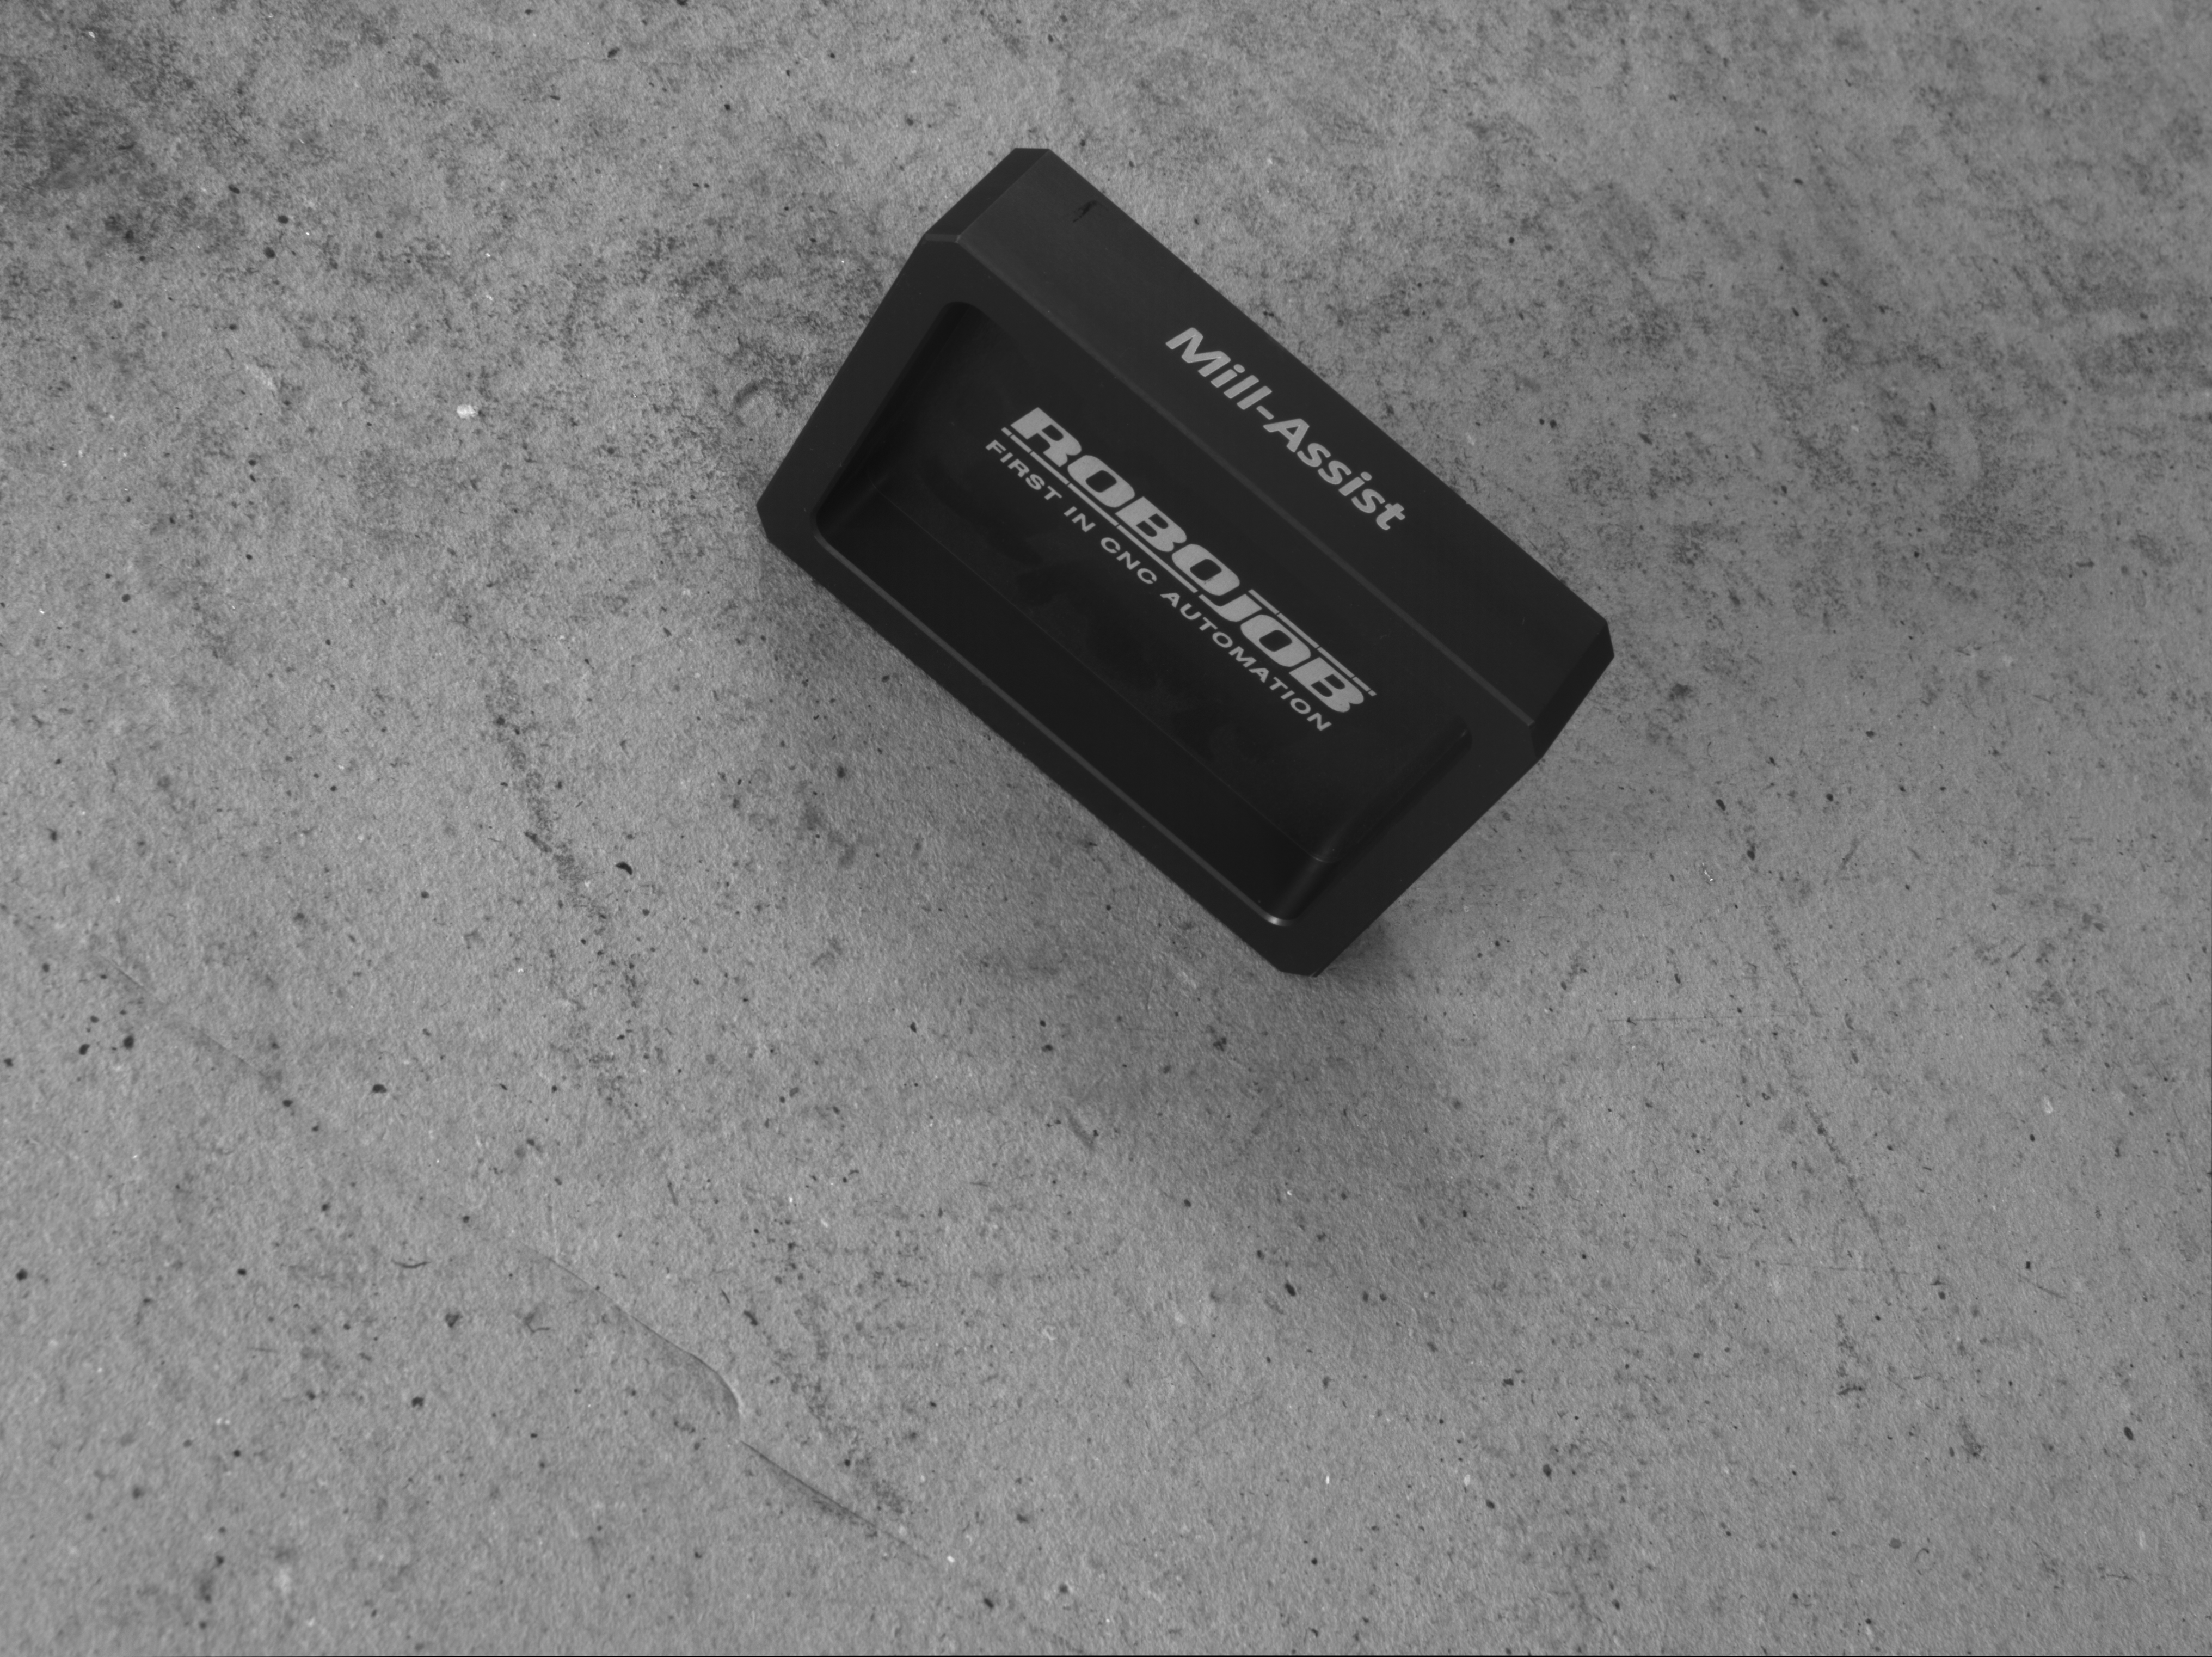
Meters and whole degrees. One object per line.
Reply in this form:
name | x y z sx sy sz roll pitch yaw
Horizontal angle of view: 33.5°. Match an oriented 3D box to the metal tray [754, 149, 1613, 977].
metal tray | 0.011 -0.043 0.629 0.130 0.090 0.030 40 51 -1
